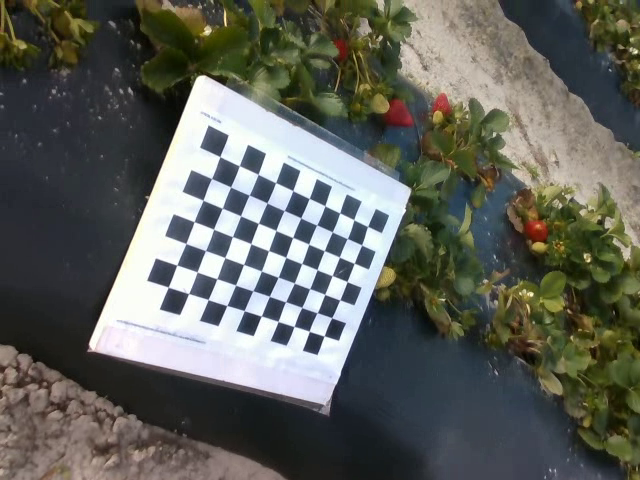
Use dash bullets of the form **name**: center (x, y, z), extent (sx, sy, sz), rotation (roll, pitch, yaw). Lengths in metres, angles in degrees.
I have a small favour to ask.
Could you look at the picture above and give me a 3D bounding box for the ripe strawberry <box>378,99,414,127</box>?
- **ripe strawberry**: center (0.133, -0.205, 1.062), extent (0.051, 0.055, 0.048), rotation (-39, -26, -19)
